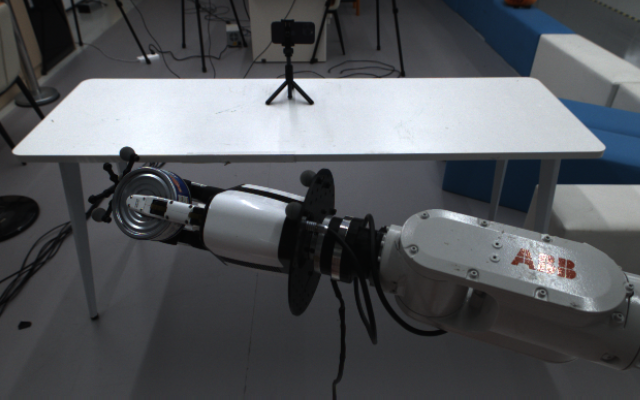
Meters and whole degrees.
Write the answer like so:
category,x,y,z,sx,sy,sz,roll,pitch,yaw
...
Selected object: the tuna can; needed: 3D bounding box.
category,x,y,z,sx,sy,sz,roll,pitch,yaw
tuna can,-0.191,0.010,0.558,0.085,0.085,0.034,12,-3,14
